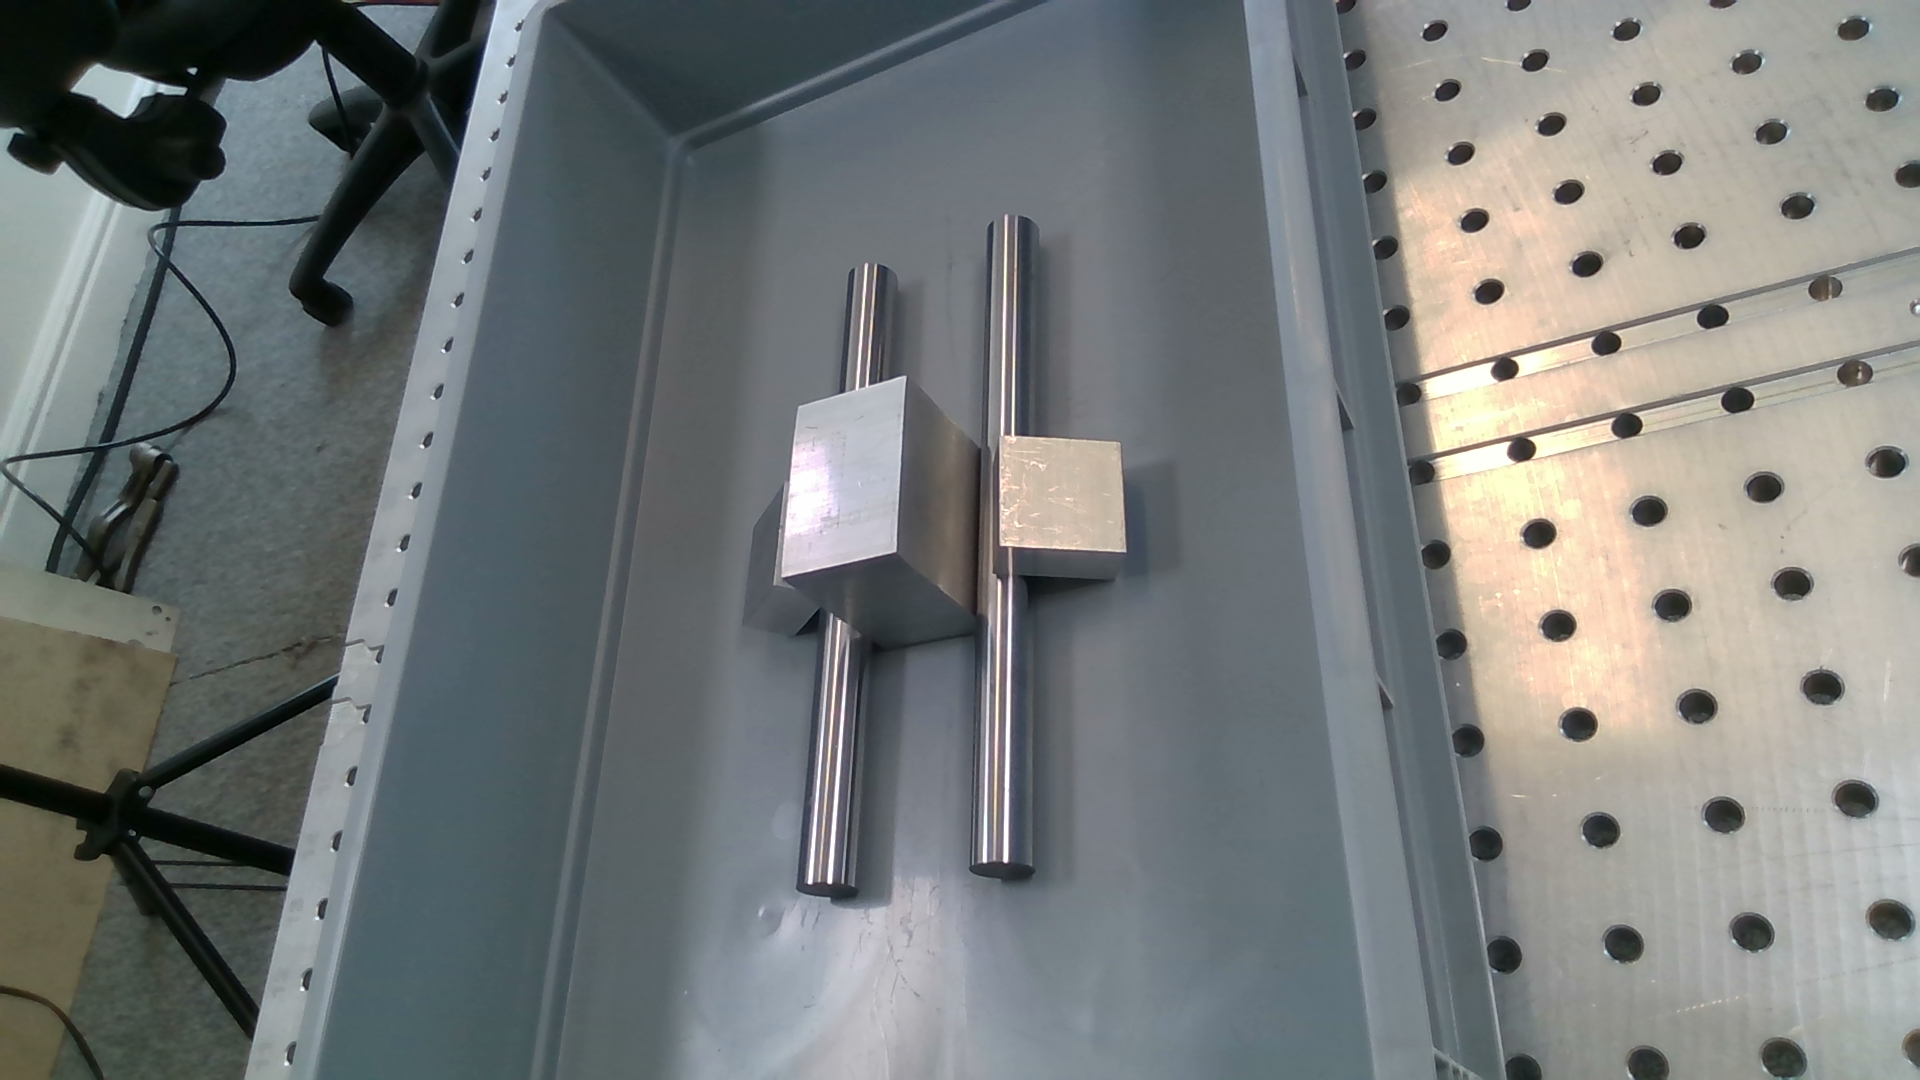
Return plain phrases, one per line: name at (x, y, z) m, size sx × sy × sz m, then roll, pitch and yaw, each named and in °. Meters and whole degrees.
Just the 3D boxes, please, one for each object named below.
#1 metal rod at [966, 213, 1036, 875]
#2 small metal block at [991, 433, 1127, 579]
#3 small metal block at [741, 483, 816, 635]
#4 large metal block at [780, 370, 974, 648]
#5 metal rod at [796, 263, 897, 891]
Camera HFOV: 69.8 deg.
metal rod at (0.019, -0.012, 0.578) m, size 0.025 × 0.025 × 0.299 m, roll -12°, pitch 60°, yaw 26°
small metal block at (0.039, -0.014, 0.553) m, size 0.050 × 0.025 × 0.050 m, roll 3°, pitch 63°, yaw -5°
small metal block at (-0.075, 0.009, 0.611) m, size 0.050 × 0.025 × 0.050 m, roll 136°, pitch 142°, yaw -56°
large metal block at (-0.027, -0.010, 0.570) m, size 0.050 × 0.080 × 0.080 m, roll -13°, pitch 60°, yaw 26°
metal rod at (-0.048, 0.004, 0.612) m, size 0.025 × 0.025 × 0.299 m, roll -12°, pitch 60°, yaw 26°
